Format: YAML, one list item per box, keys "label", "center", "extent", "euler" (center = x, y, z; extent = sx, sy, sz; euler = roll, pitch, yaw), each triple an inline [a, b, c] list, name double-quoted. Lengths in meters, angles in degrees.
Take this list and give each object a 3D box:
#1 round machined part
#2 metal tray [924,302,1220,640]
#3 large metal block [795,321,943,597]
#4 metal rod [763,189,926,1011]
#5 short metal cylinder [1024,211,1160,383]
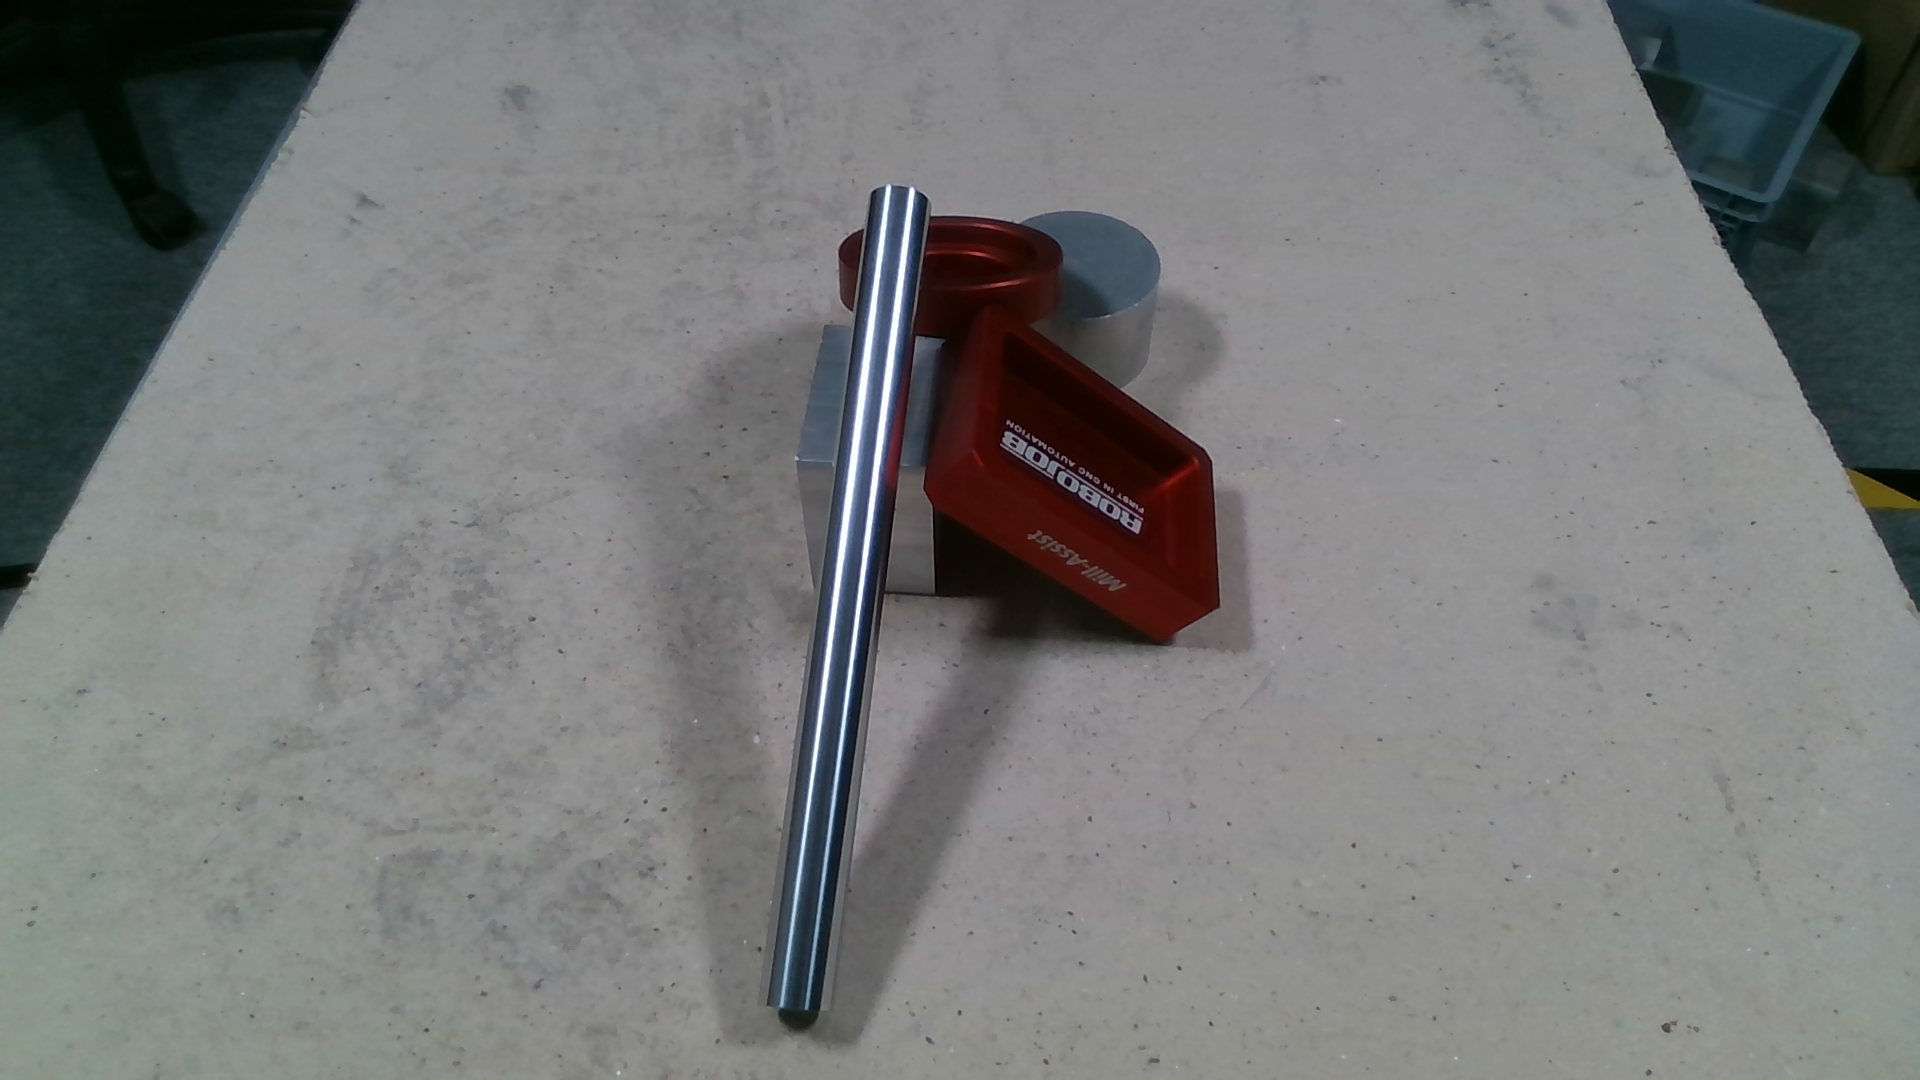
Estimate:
- label: "round machined part"
  center: [-0.004, -0.109, 0.610]
  extent: [0.098, 0.042, 0.098]
  euler: [1, 30, 0]
- label: "metal tray"
  center: [0.049, -0.027, 0.557]
  extent: [0.130, 0.030, 0.090]
  euler: [31, 44, -27]
- label: "large metal block"
  center: [-0.035, -0.034, 0.579]
  extent: [0.050, 0.080, 0.080]
  euler: [3, 50, 3]
- label: "metal rod"
  center: [-0.039, 0.012, 0.500]
  extent: [0.025, 0.025, 0.299]
  euler: [5, 74, 4]
- label: "short metal cylinder"
  center: [0.054, -0.114, 0.667]
  extent: [0.080, 0.050, 0.080]
  euler: [0, 50, 0]
